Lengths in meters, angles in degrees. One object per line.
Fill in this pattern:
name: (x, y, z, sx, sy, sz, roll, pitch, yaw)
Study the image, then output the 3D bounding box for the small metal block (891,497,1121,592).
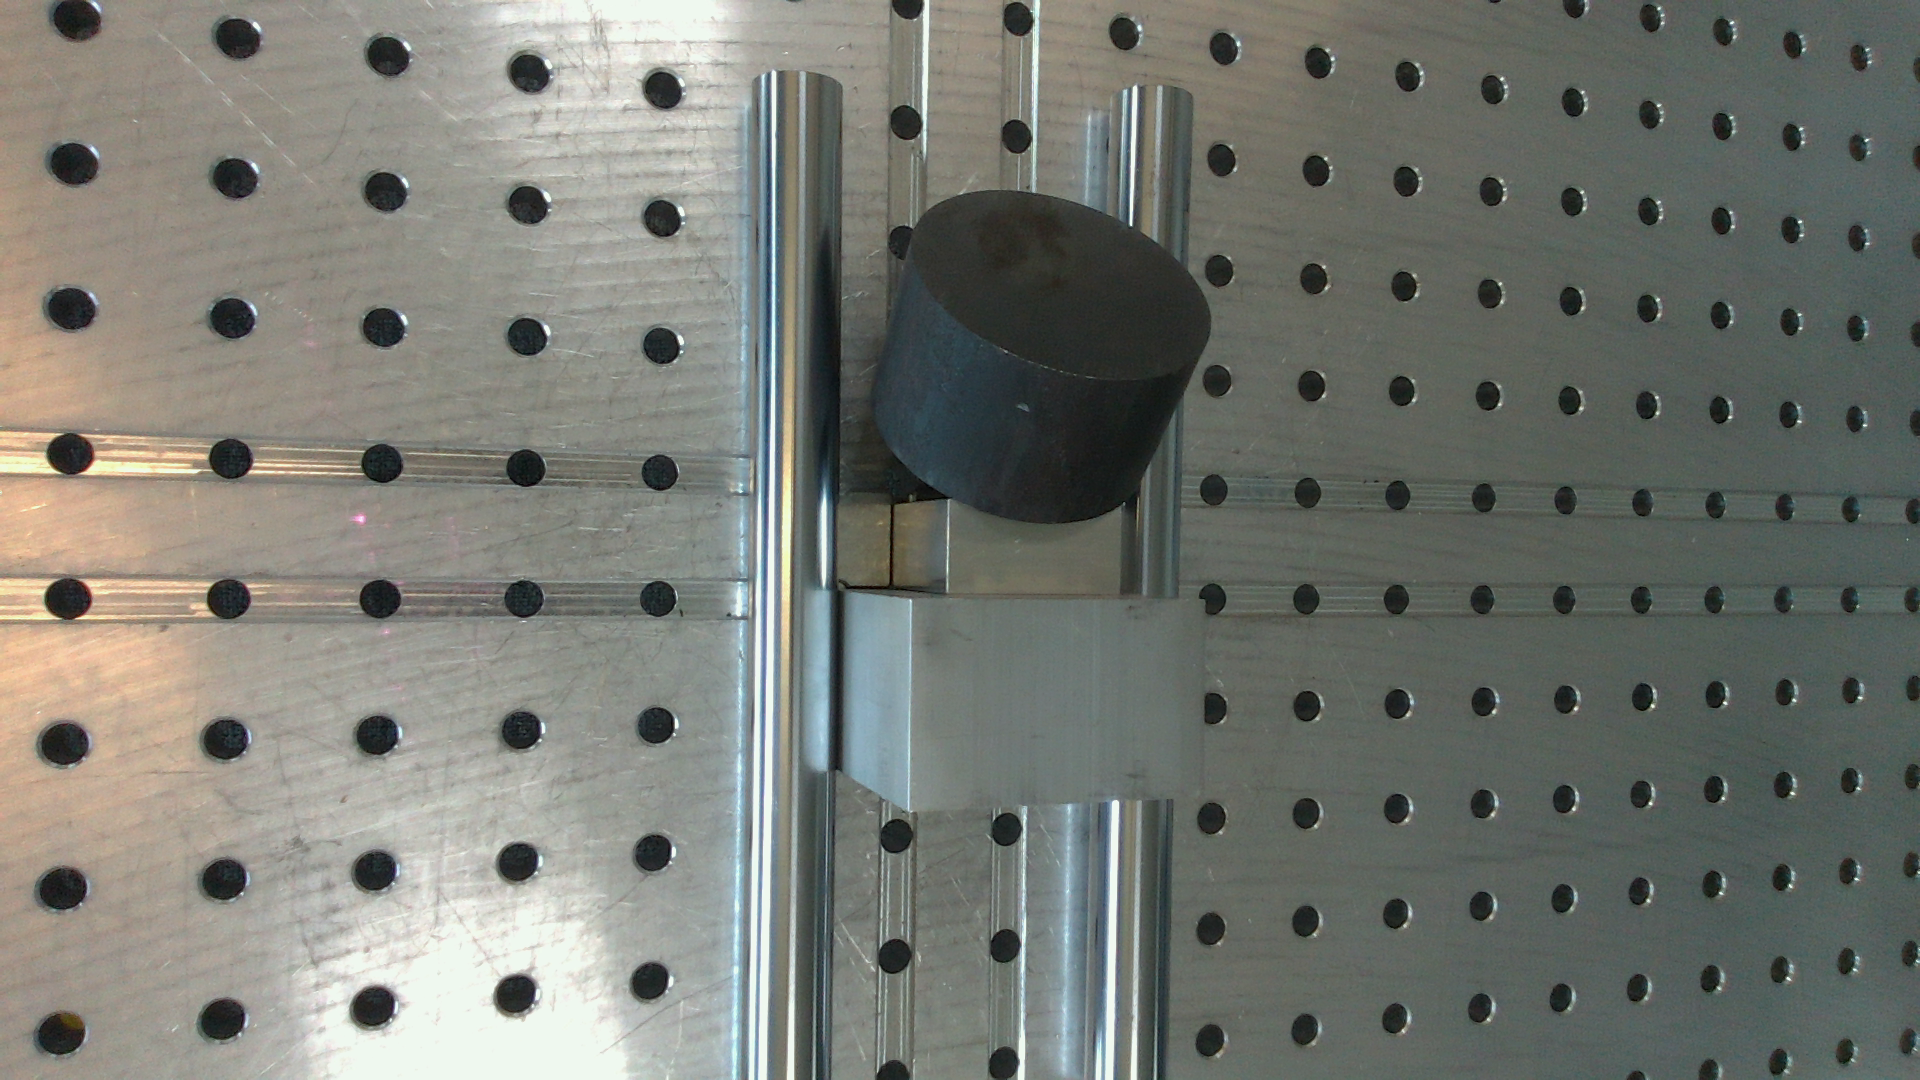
small metal block: (0.011, 0.002, 0.387, 0.050, 0.050, 0.025, 2, 90, -20)

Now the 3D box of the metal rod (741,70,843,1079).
metal rod: (-0.046, 0.025, 0.379, 0.025, 0.025, 0.300, 1, 90, -20)

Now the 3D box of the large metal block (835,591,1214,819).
large metal block: (0.012, 0.040, 0.369, 0.080, 0.080, 0.050, 1, 90, -20)

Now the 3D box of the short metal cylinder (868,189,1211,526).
short metal cylinder: (0.020, -0.050, 0.367, 0.080, 0.050, 0.080, 11, 43, -10)

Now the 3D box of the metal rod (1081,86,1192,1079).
metal rod: (0.053, 0.017, 0.415, 0.025, 0.025, 0.300, 2, 89, -20)
